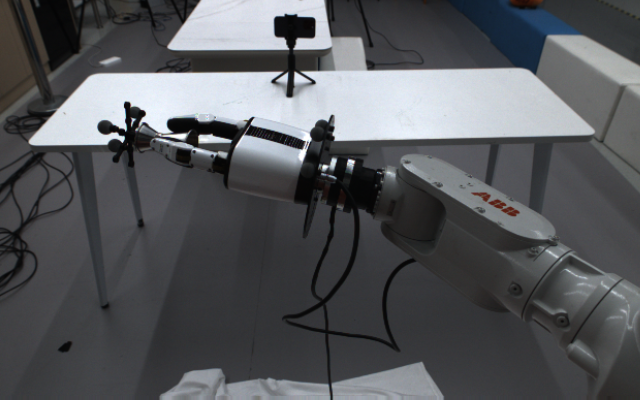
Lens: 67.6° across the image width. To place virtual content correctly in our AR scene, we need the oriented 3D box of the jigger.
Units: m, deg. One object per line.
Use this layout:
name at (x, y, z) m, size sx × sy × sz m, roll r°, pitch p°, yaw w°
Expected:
jigger at (-0.189, -0.079, 0.626) m, size 0.071 × 0.043 × 0.043 m, roll 9°, pitch 35°, yaw 5°
